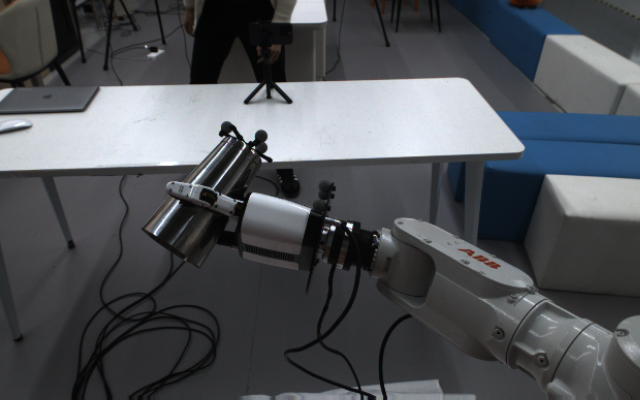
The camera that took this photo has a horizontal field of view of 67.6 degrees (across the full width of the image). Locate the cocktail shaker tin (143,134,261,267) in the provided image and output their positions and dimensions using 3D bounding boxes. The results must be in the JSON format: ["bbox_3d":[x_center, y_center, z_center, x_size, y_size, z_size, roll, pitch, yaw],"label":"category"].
[{"bbox_3d":[-0.154,-0.008,0.664,0.093,0.093,0.170,22,67,26],"label":"cocktail shaker tin"}]
